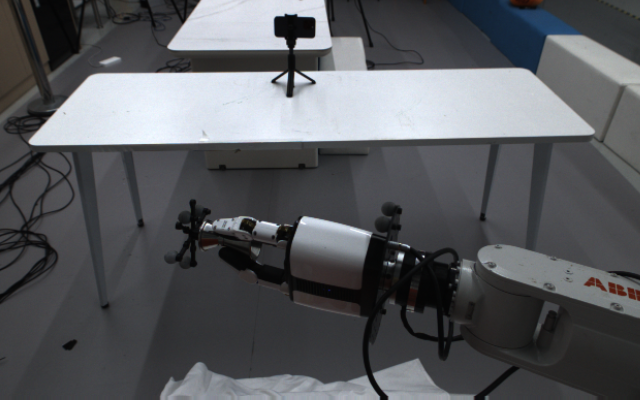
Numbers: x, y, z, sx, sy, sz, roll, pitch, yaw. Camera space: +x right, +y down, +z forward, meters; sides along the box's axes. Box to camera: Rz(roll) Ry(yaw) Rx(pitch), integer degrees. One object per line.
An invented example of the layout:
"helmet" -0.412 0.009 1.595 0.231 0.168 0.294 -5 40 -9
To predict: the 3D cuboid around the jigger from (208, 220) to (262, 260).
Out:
"jigger" -0.103 0.044 0.595 0.071 0.043 0.043 6 35 12
